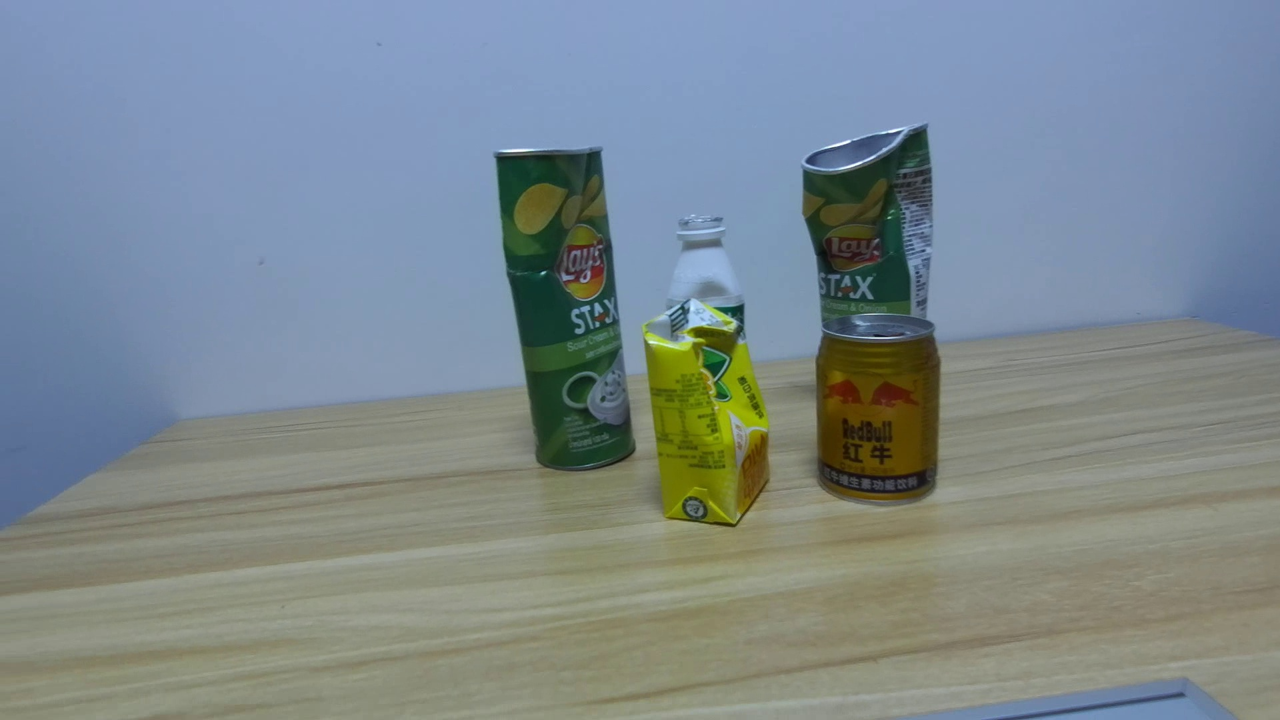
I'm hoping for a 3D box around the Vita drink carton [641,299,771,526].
[{"bbox_3d":[0.040,0.026,0.385,0.046,0.109,0.071,1,17,28],"label":"Vita drink carton"}]

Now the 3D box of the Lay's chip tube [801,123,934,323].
[{"bbox_3d":[0.158,-0.054,0.488,0.078,0.199,0.071,2,24,28],"label":"Lay's chip tube"}]

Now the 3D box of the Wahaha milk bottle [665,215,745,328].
[{"bbox_3d":[0.047,-0.025,0.498,0.055,0.149,0.055,-2,15,1],"label":"Wahaha milk bottle"}]

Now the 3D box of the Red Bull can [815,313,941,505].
[{"bbox_3d":[0.132,0.026,0.395,0.067,0.093,0.067,-2,13,1],"label":"Red Bull can"}]

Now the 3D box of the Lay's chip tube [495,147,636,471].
[{"bbox_3d":[-0.046,-0.034,0.462,0.069,0.199,0.074,-7,14,-5],"label":"Lay's chip tube"}]
